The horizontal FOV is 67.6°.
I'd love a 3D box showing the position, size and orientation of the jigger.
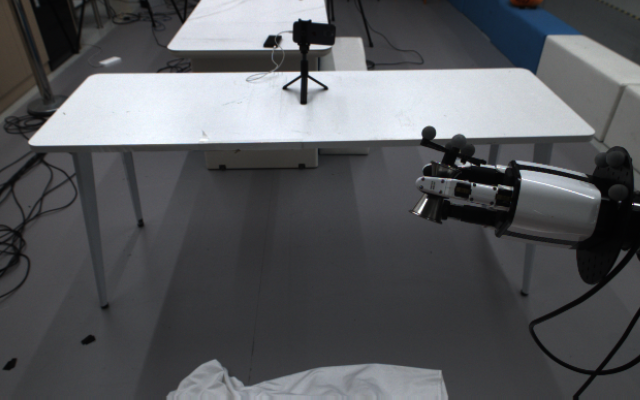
[{"bbox_3d":[0.139,-0.011,0.590,0.043,0.071,0.043,22,5,-2],"label":"jigger"}]
